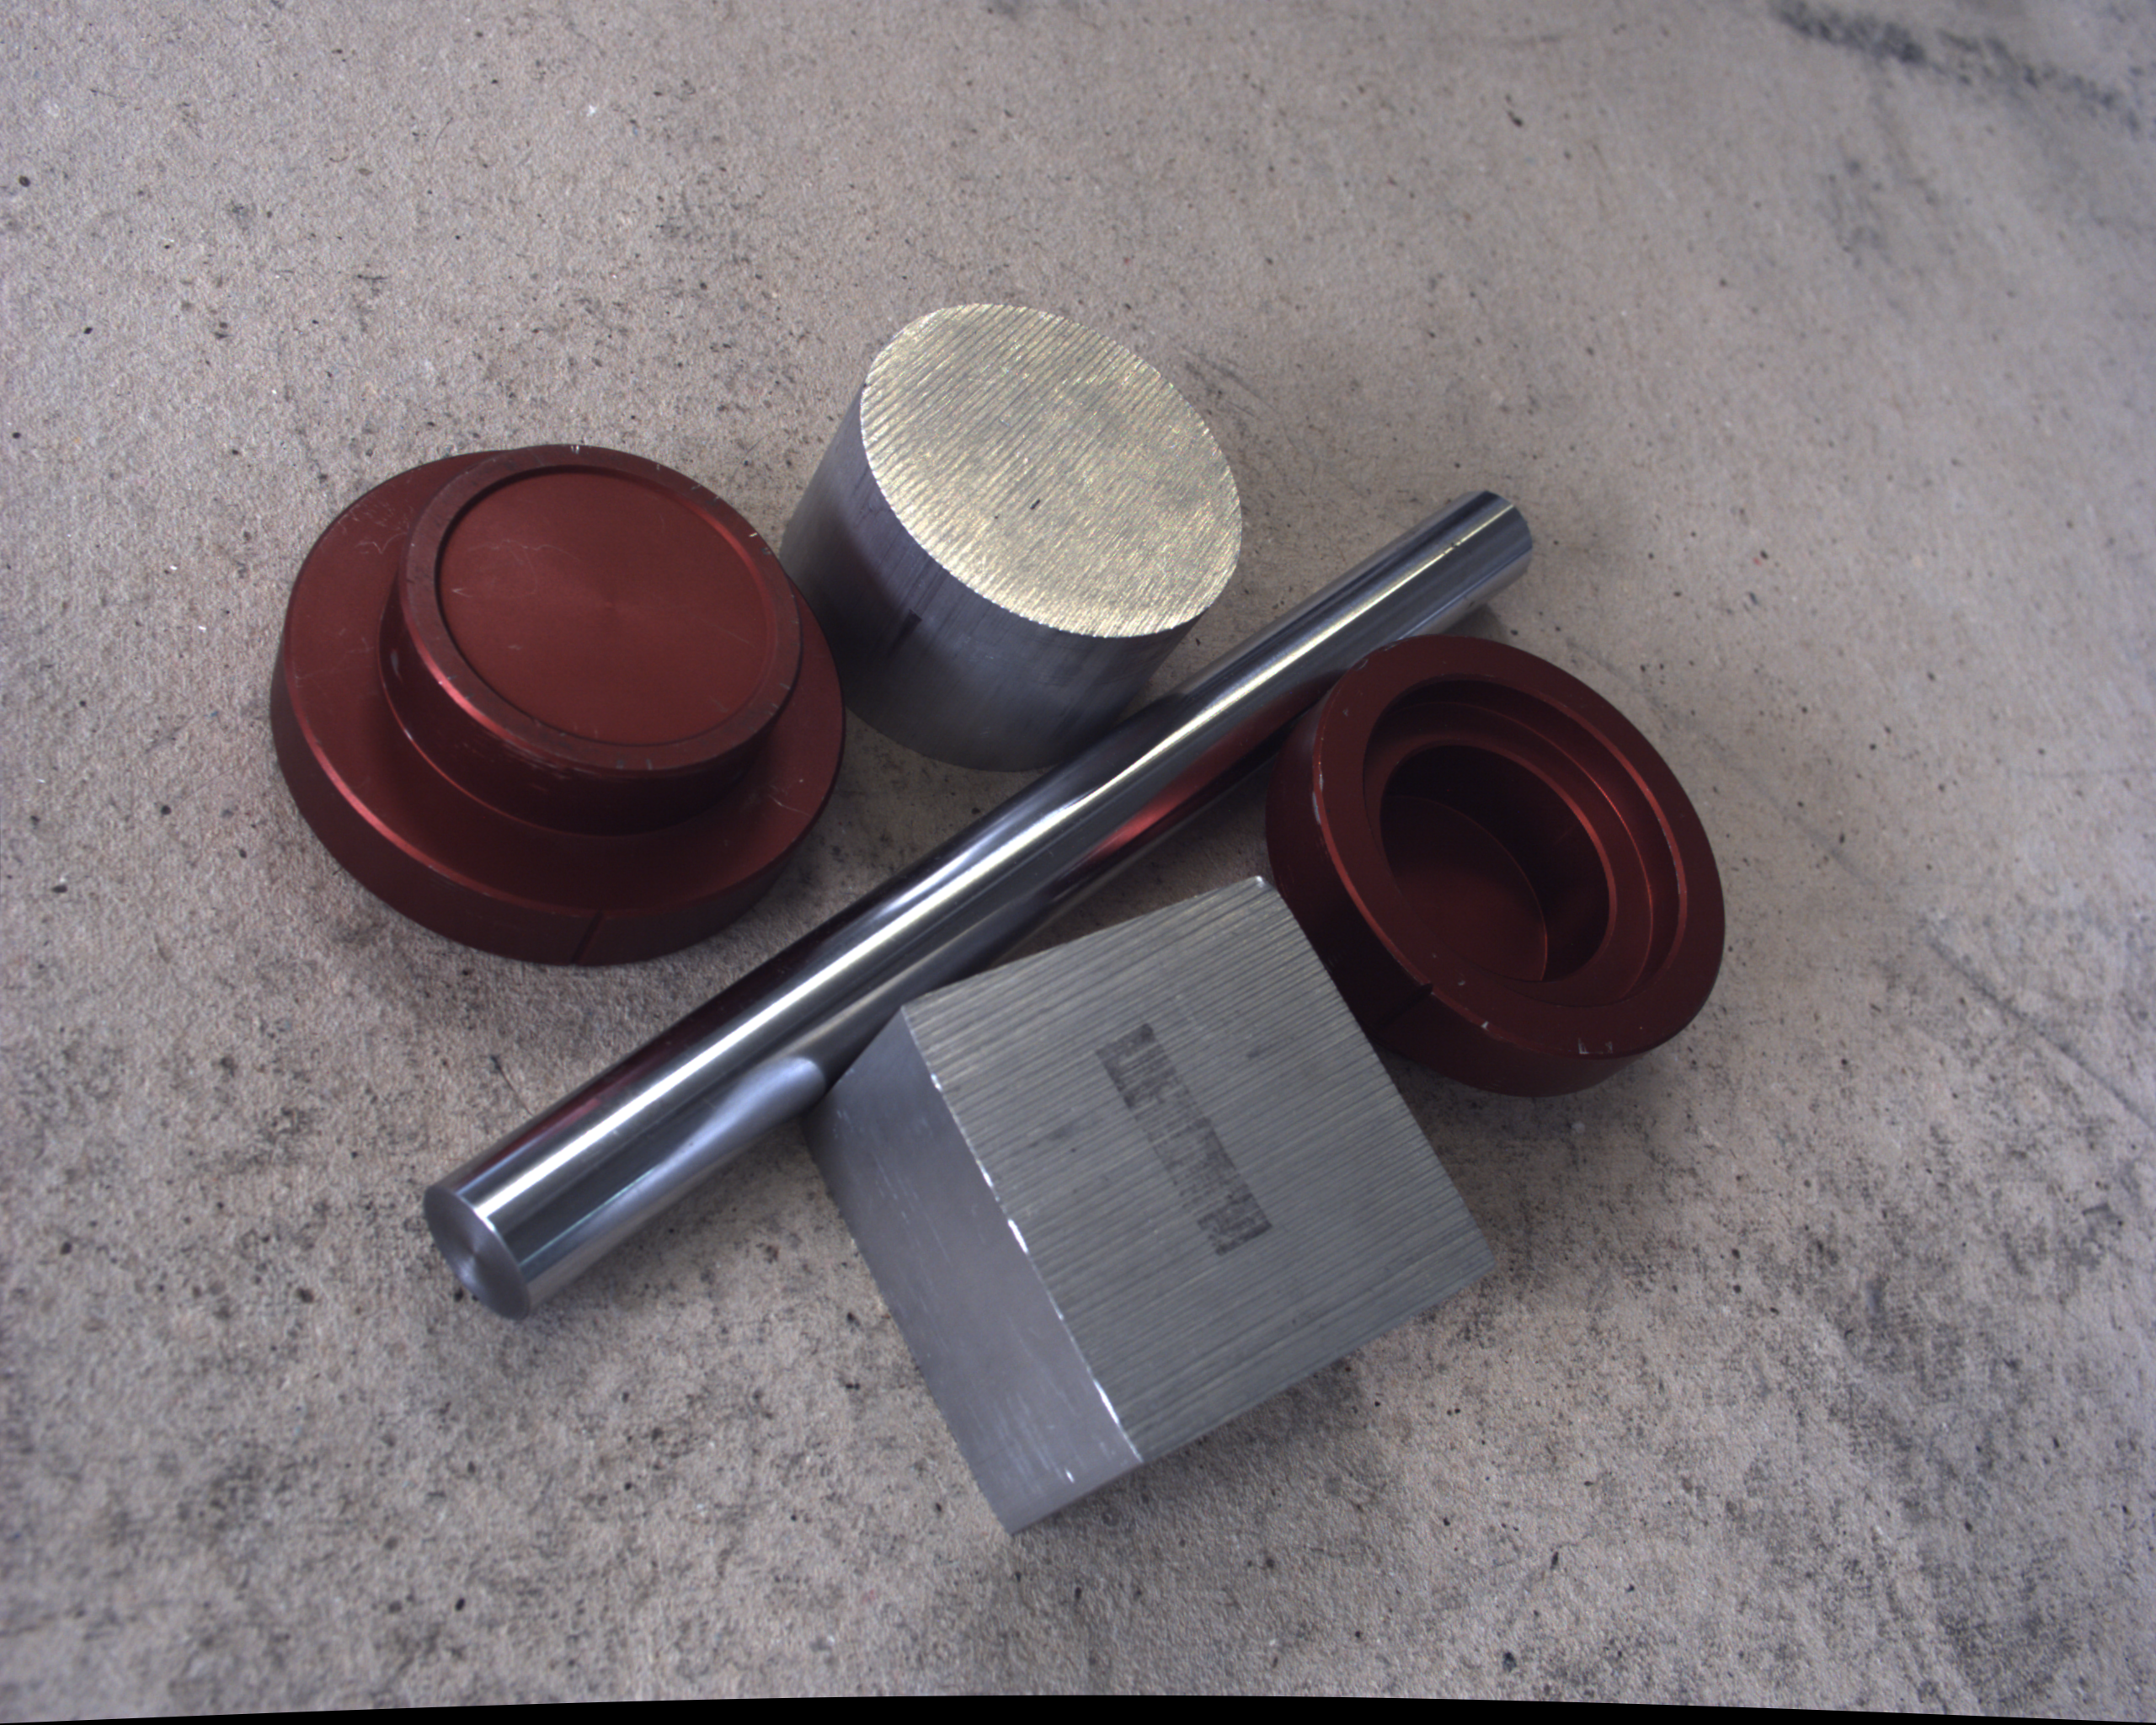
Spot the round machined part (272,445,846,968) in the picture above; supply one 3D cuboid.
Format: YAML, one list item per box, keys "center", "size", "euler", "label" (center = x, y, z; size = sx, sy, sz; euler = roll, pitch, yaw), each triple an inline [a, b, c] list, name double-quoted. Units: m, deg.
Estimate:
- center: [-0.087, -0.034, 0.368]
  size: [0.099, 0.042, 0.098]
  euler: [14, 56, -21]
  label: "round machined part"

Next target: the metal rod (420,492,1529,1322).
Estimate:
- center: [0.003, -0.009, 0.413]
  size: [0.025, 0.025, 0.302]
  euler: [49, 51, 6]
  label: "metal rod"

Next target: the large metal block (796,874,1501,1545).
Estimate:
- center: [0.011, 0.058, 0.361]
  size: [0.081, 0.050, 0.080]
  euler: [-19, 72, -35]
  label: "large metal block"

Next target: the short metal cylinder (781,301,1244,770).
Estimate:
- center: [-0.014, -0.065, 0.421]
  size: [0.081, 0.050, 0.080]
  euler: [14, 56, -21]
  label: "short metal cylinder"

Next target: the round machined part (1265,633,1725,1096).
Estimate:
- center: [0.082, 0.004, 0.436]
  size: [0.099, 0.042, 0.098]
  euler: [14, 56, -21]
  label: "round machined part"
